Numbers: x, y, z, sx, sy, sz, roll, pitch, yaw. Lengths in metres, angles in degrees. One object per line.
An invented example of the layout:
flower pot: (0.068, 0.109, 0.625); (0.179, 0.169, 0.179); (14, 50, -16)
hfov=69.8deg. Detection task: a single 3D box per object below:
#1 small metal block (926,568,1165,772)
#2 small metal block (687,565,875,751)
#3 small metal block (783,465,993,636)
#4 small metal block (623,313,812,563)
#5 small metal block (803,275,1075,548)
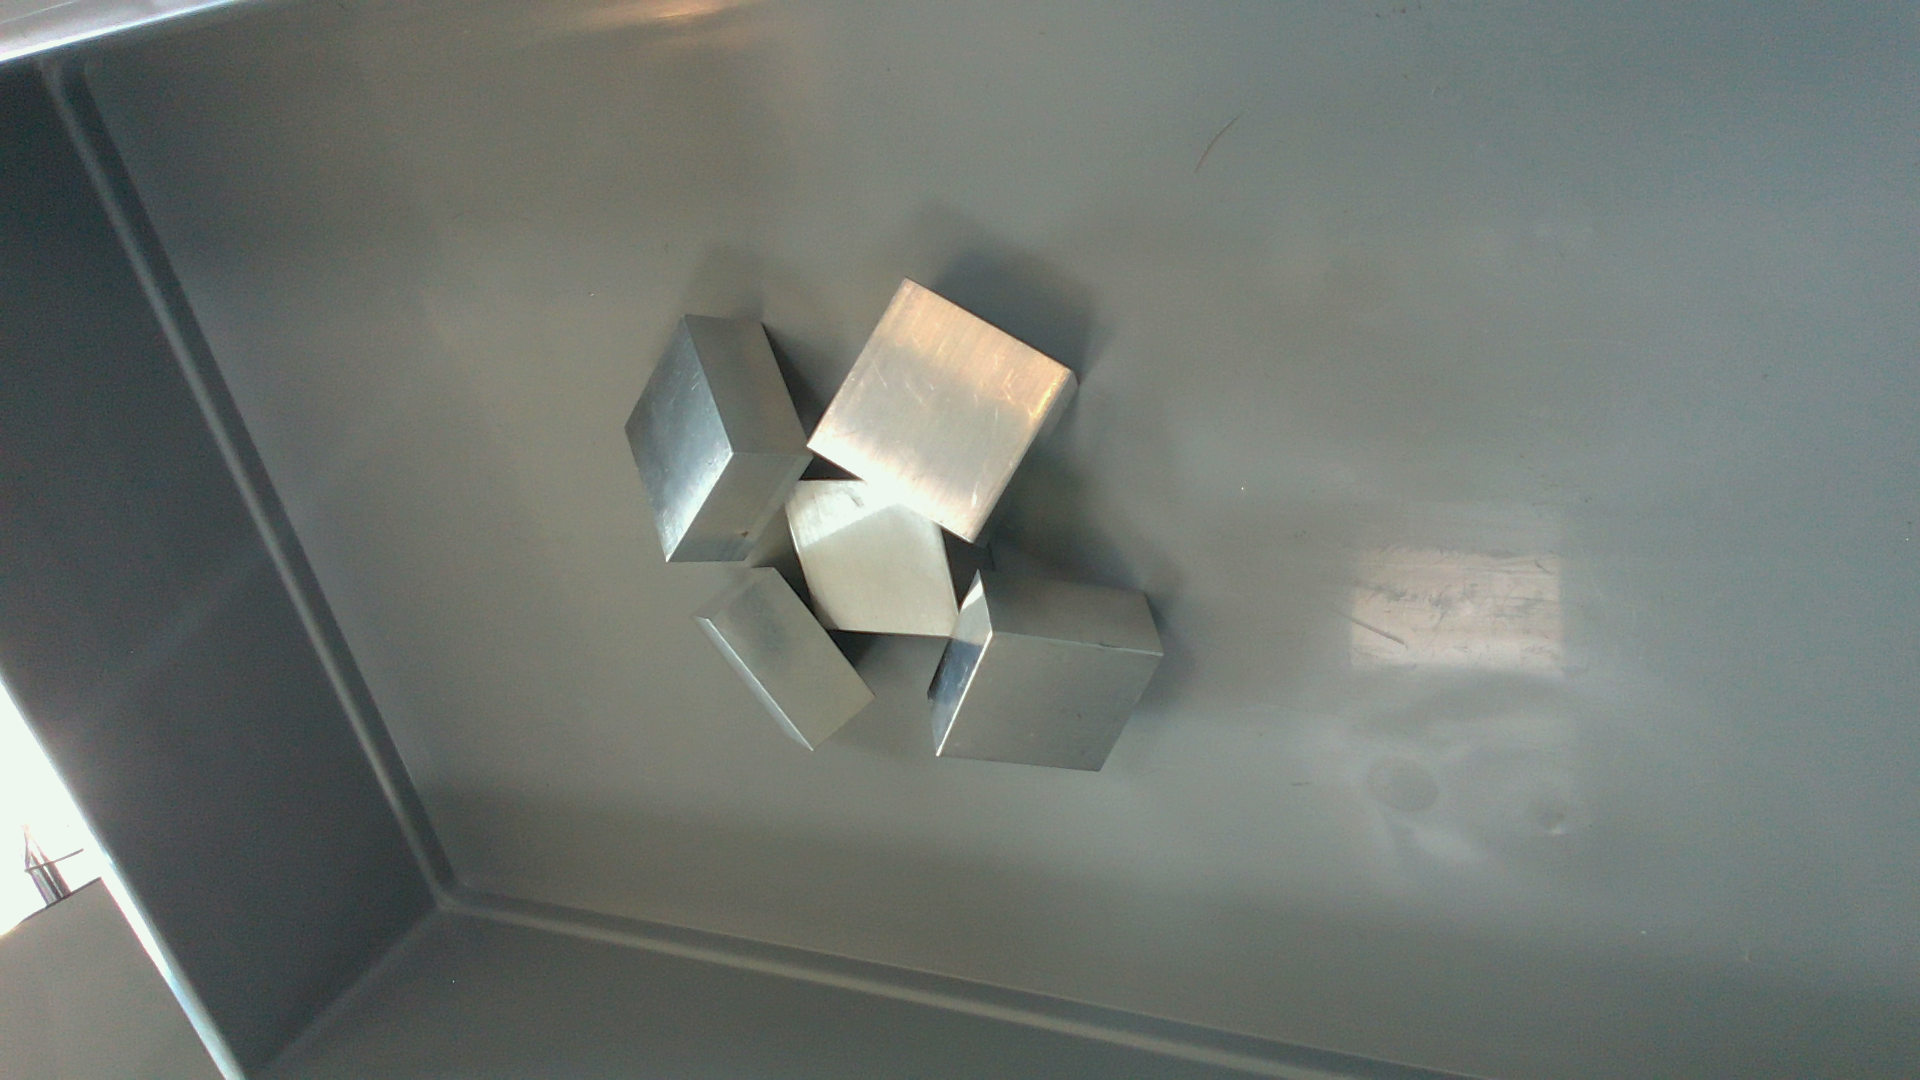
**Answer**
small metal block: (0.023, 0.038, 0.388); (0.050, 0.025, 0.050); (8, 130, -18)
small metal block: (-0.057, 0.035, 0.428); (0.050, 0.025, 0.050); (53, 166, -10)
small metal block: (-0.021, -0.001, 0.401); (0.050, 0.025, 0.050); (2, 119, 28)
small metal block: (-0.071, -0.028, 0.395); (0.050, 0.025, 0.050); (-50, 52, 40)
small metal block: (-0.004, -0.032, 0.357); (0.050, 0.025, 0.050); (30, 91, 8)
